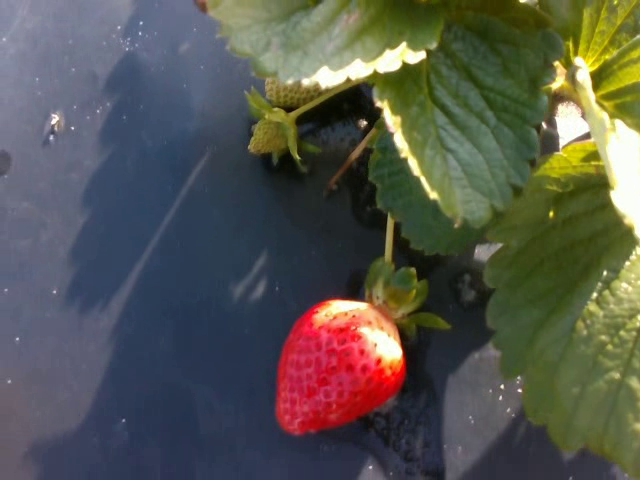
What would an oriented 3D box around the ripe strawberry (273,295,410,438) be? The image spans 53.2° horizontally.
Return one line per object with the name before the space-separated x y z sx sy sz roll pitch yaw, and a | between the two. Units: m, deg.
ripe strawberry | 0.003 0.035 0.153 0.033 0.044 0.030 51 -7 -34
